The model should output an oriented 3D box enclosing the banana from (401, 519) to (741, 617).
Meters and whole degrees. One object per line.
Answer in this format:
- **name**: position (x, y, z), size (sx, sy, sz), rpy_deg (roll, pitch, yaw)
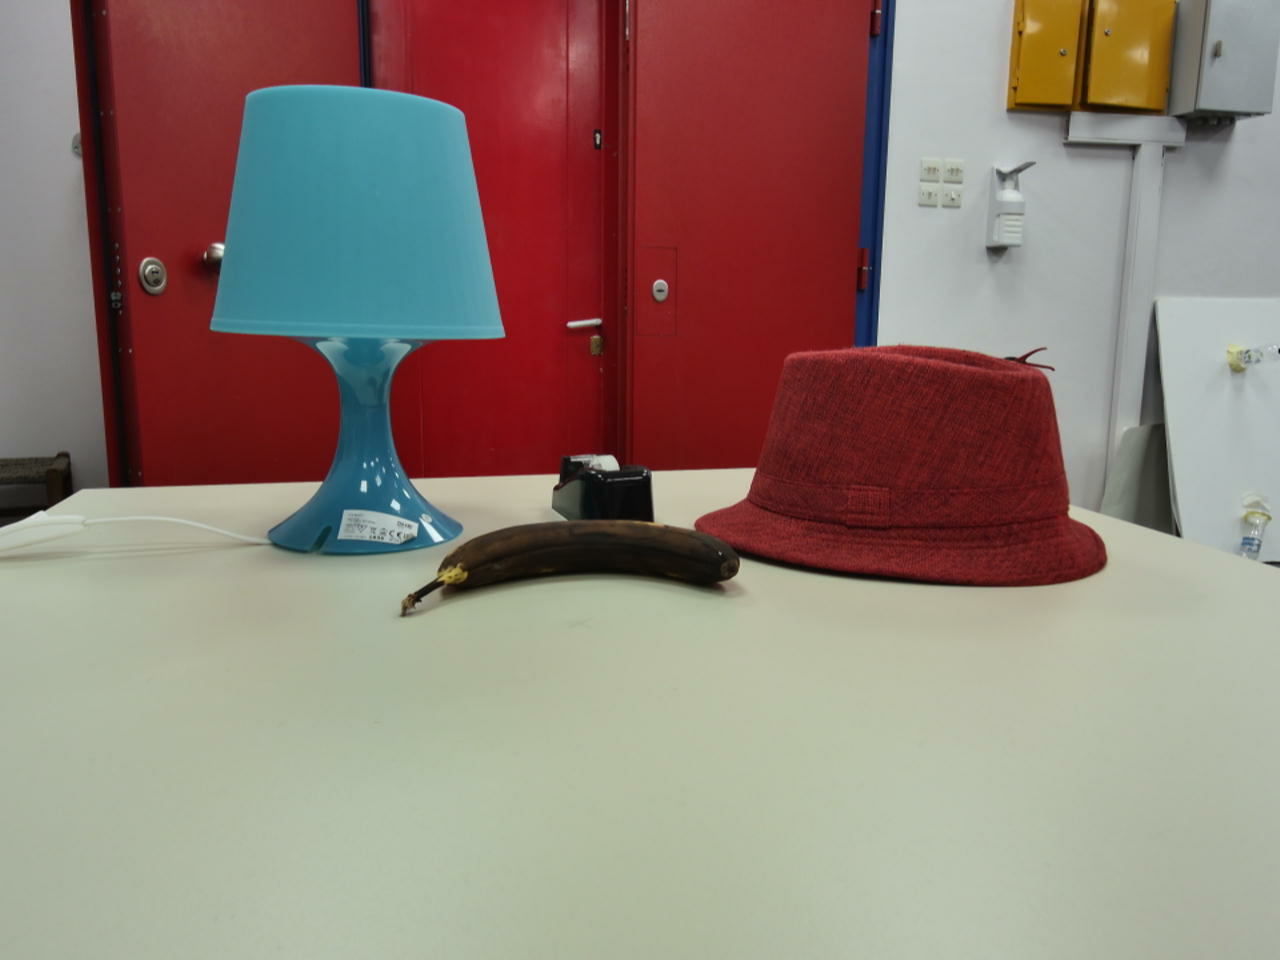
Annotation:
- **banana**: position (-0.040, 0.045, 0.577), size (0.188, 0.033, 0.091), rpy_deg (-2, 8, -11)
